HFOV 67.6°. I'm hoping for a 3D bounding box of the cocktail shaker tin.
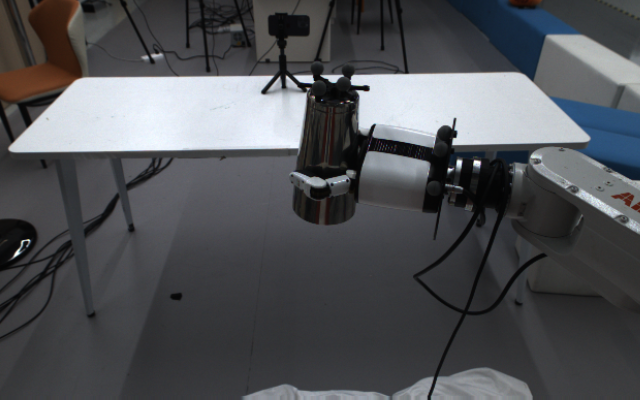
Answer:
[{"bbox_3d":[0.013,-0.063,0.646,0.093,0.170,0.093,3,34,-2],"label":"cocktail shaker tin"}]
